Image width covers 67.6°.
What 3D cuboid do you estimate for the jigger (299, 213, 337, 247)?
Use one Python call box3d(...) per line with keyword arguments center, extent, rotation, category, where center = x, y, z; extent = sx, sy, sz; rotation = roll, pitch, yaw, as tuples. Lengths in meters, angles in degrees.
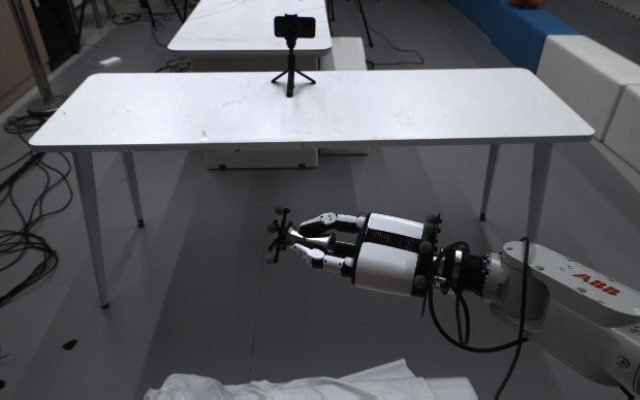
box3d(center=(-0.008, 0.063, 0.757), extent=(0.071, 0.043, 0.043), rotation=(10, 36, 15), category="jigger")
